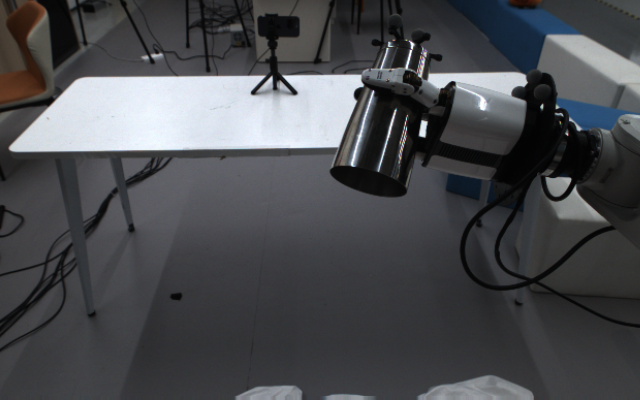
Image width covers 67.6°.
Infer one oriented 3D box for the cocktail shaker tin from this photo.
[{"bbox_3d":[0.081,-0.098,0.574,0.093,0.093,0.170,14,76,16],"label":"cocktail shaker tin"}]
